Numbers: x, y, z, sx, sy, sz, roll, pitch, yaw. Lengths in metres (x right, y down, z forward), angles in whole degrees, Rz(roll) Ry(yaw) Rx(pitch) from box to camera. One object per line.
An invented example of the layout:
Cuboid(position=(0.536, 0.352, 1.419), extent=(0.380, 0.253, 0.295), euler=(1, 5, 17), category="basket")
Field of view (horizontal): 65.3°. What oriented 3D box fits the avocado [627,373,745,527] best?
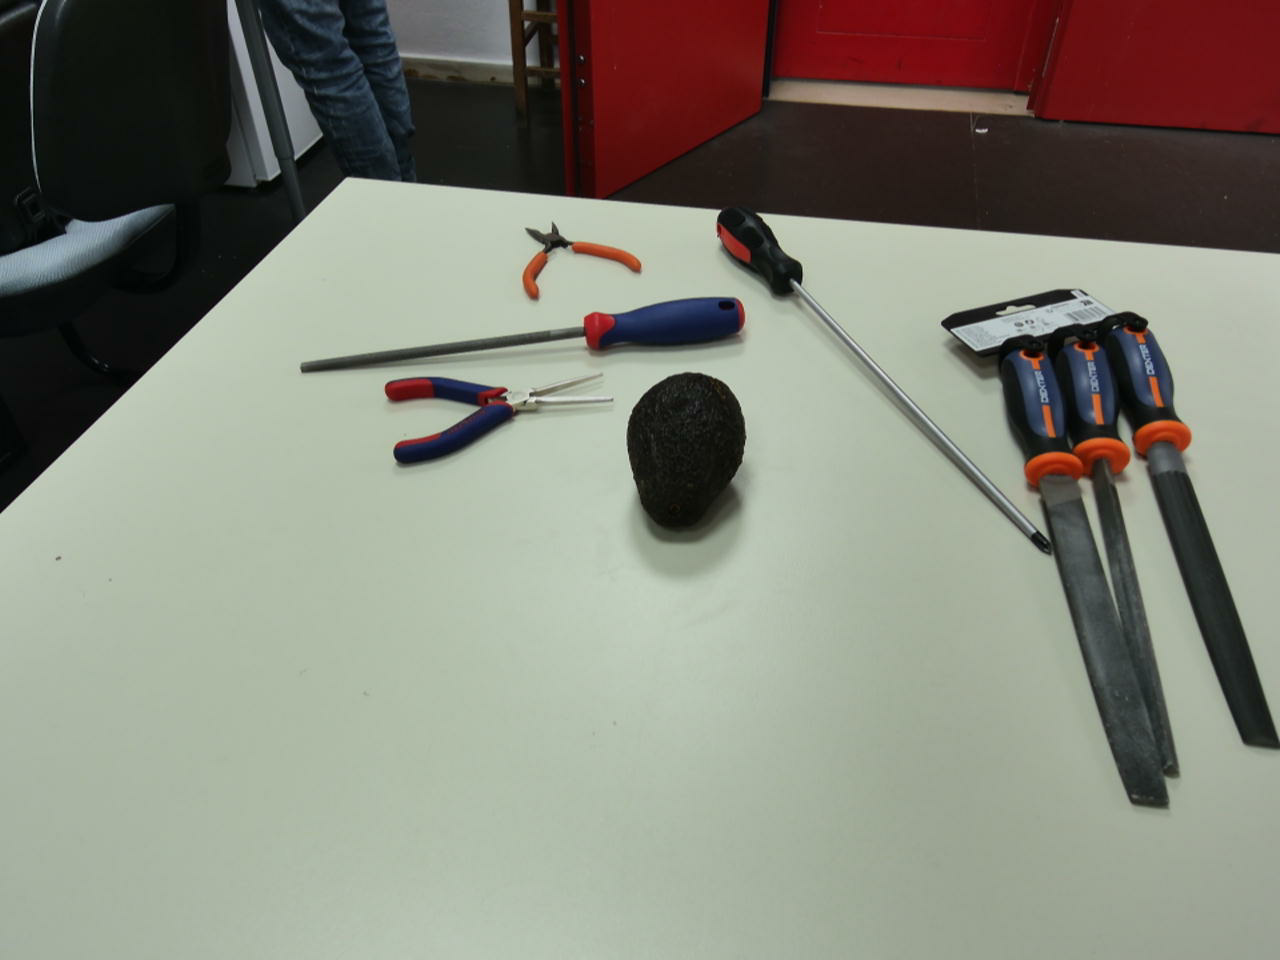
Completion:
Cuboid(position=(0.024, -0.022, 0.582), extent=(0.070, 0.069, 0.090), euler=(26, 46, 29), category="avocado")
